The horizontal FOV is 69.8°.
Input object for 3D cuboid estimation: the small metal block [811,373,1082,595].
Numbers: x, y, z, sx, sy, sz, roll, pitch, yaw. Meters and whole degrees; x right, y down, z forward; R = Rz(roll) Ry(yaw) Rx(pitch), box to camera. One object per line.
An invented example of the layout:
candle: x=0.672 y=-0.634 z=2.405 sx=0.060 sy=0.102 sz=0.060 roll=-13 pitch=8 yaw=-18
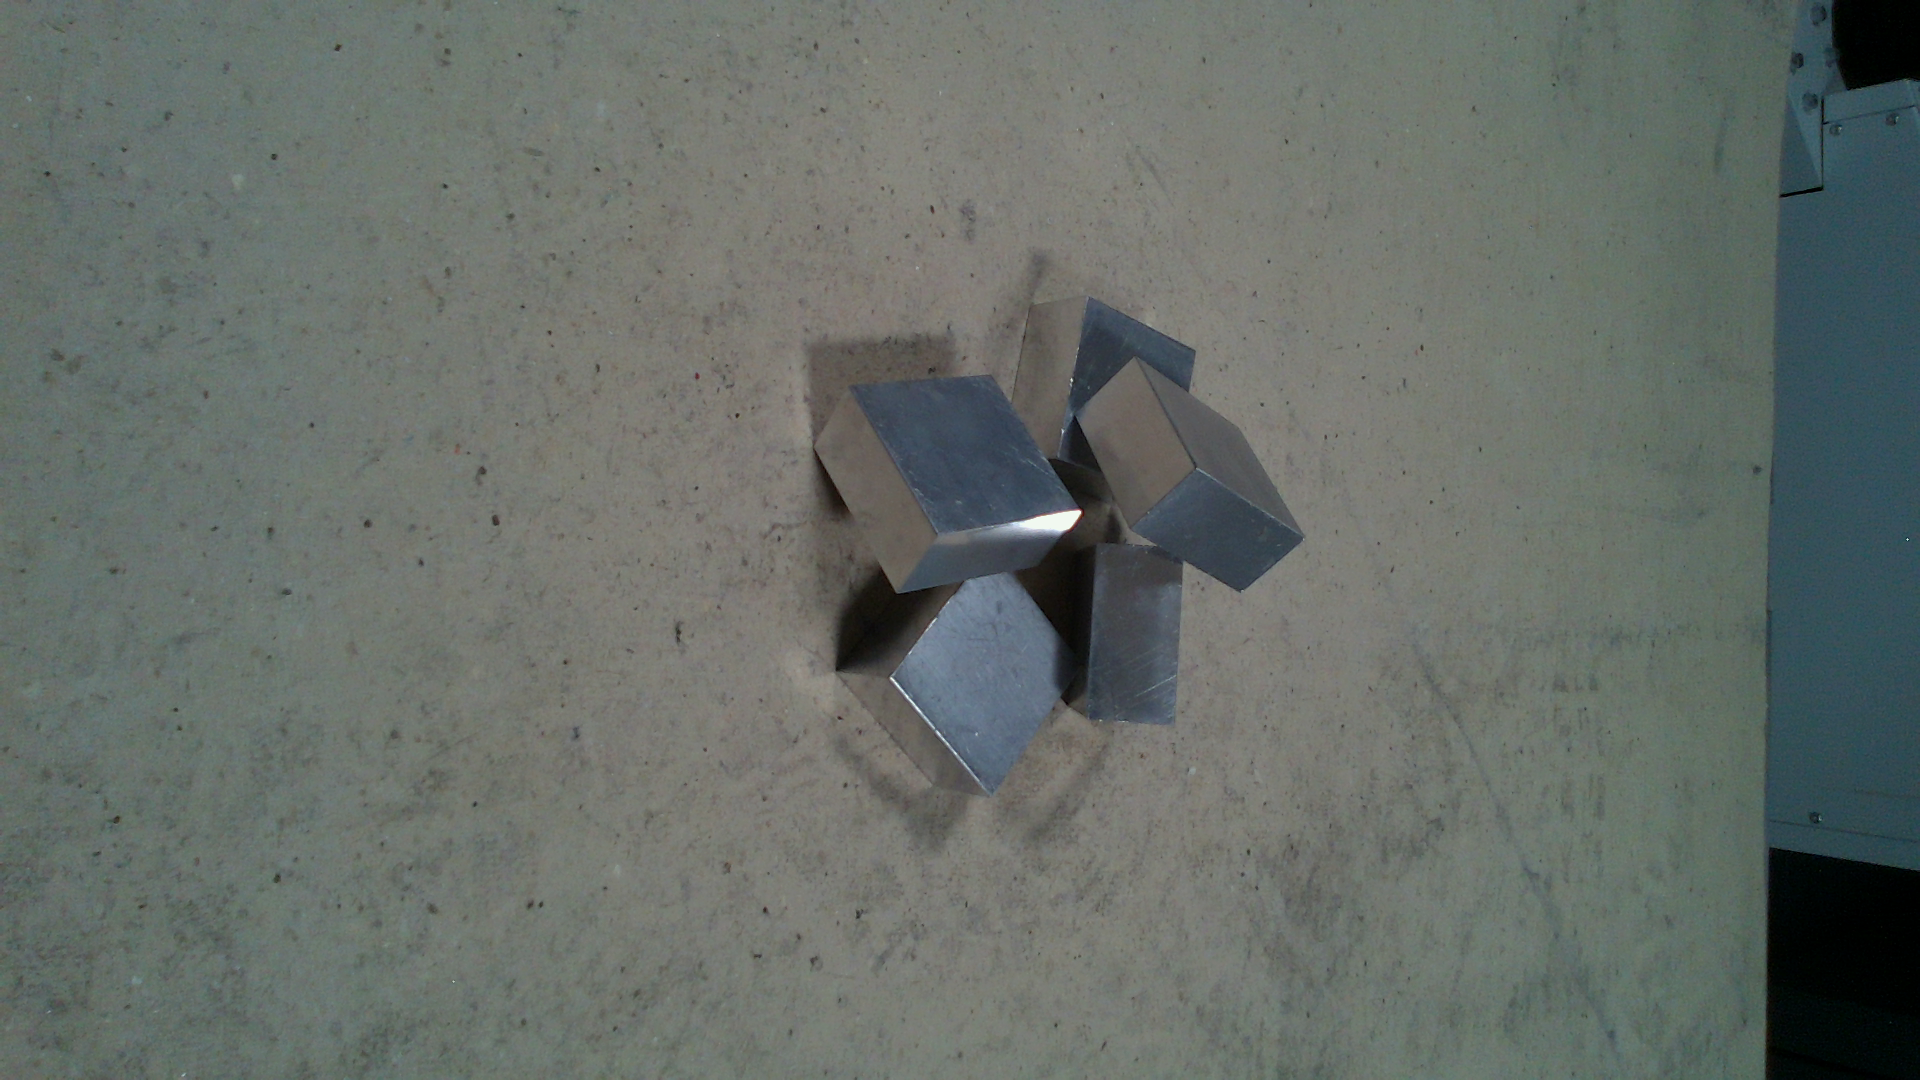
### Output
small metal block: x=-0.004 y=-0.016 z=0.370 sx=0.050 sy=0.025 sz=0.050 roll=-10 pitch=59 yaw=-40

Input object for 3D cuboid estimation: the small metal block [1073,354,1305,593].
small metal block: x=0.065 y=-0.019 z=0.393 sx=0.050 sy=0.025 sz=0.050 roll=27 pitch=30 yaw=-37

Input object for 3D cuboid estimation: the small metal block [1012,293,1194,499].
small metal block: x=0.043 y=-0.042 z=0.425 sx=0.050 sy=0.025 sz=0.050 roll=18 pitch=79 yaw=-38

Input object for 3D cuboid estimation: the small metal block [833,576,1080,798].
small metal block: x=0.001 y=0.036 z=0.390 sx=0.050 sy=0.025 sz=0.050 roll=-52 pitch=120 yaw=-27

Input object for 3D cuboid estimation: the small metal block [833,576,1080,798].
small metal block: x=0.000 y=0.036 z=0.390 sx=0.050 sy=0.025 sz=0.050 roll=52 pitch=59 yaw=-27

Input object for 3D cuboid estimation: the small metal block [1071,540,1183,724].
small metal block: x=0.049 y=0.027 z=0.410 sx=0.025 sy=0.050 sz=0.050 roll=3 pitch=87 yaw=-1
